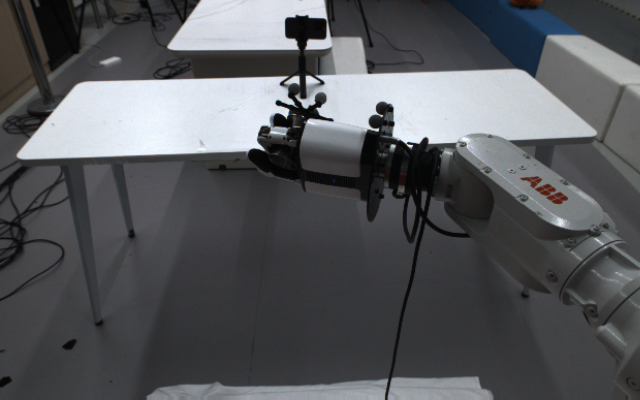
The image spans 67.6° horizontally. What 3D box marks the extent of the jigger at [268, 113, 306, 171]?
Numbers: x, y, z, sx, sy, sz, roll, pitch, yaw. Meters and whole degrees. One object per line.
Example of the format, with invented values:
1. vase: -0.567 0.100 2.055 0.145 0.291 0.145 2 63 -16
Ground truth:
1. jigger: -0.039 -0.084 0.684 0.043 0.043 0.071 15 71 18
